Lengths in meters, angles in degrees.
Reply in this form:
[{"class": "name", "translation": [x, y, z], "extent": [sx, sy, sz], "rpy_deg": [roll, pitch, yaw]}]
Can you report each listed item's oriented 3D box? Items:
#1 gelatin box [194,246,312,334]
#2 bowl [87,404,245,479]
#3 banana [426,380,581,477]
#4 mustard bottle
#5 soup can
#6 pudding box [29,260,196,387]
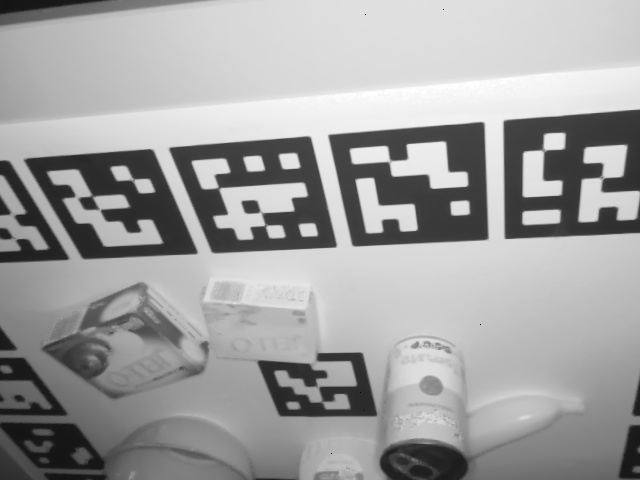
[{"class": "gelatin box", "translation": [-0.053, 0.043, 0.572], "extent": [0.089, 0.030, 0.072], "rpy_deg": [1, 128, 6]}, {"class": "bowl", "translation": [-0.154, 0.221, 0.726], "extent": [0.161, 0.056, 0.160], "rpy_deg": [2, 131, 3]}, {"class": "banana", "translation": [0.152, 0.180, 0.659], "extent": [0.075, 0.039, 0.194], "rpy_deg": [22, 131, -24]}, {"class": "mustard bottle", "translation": [0.006, 0.277, 0.645], "extent": [0.096, 0.193, 0.058], "rpy_deg": [-3, 133, 11]}, {"class": "soup can", "translation": [0.086, 0.125, 0.565], "extent": [0.068, 0.103, 0.067], "rpy_deg": [5, 133, 6]}, {"class": "pudding box", "translation": [-0.181, 0.075, 0.611], "extent": [0.112, 0.039, 0.090], "rpy_deg": [-24, 118, 25]}]
